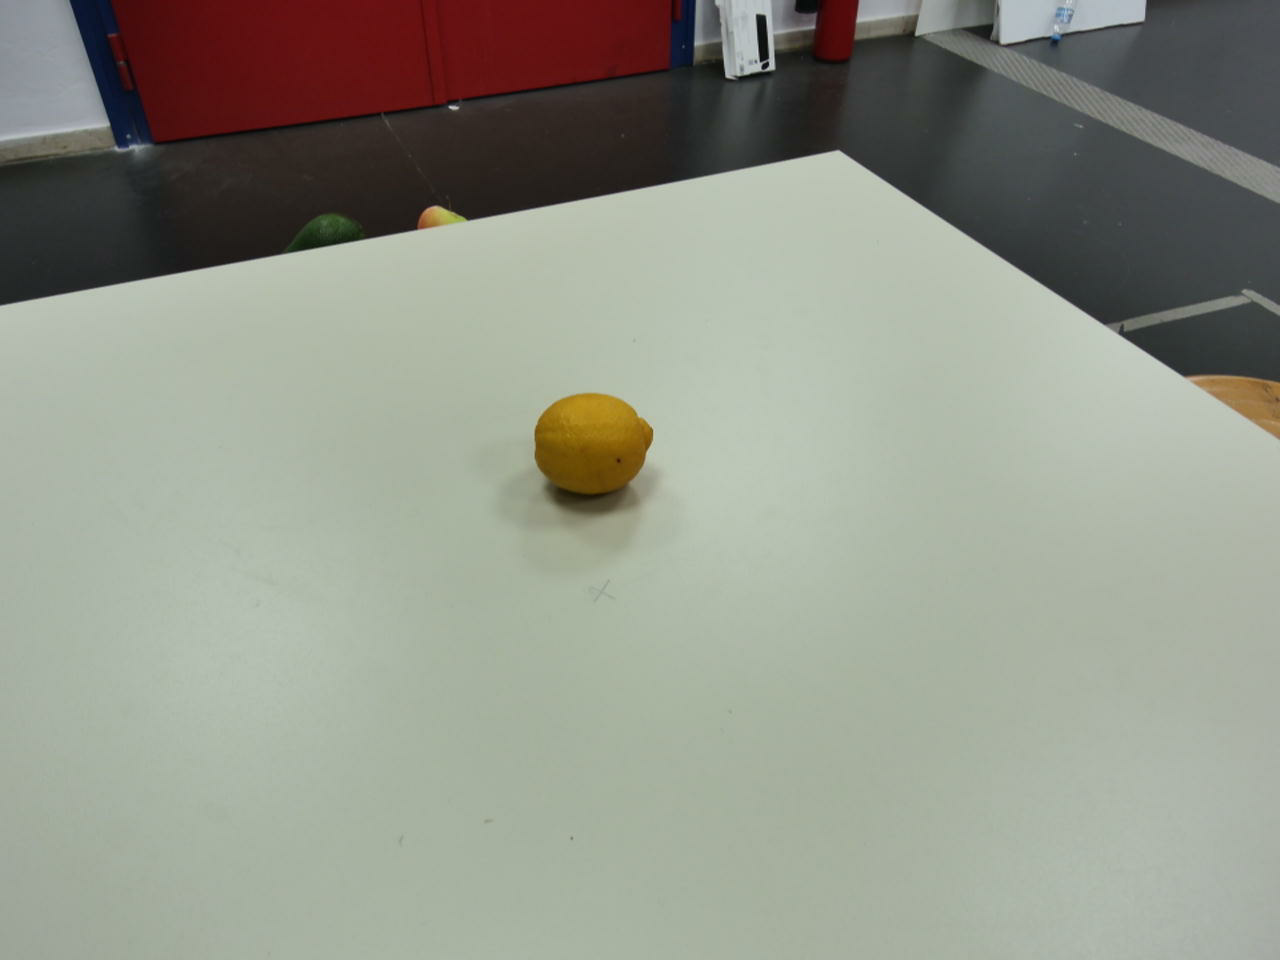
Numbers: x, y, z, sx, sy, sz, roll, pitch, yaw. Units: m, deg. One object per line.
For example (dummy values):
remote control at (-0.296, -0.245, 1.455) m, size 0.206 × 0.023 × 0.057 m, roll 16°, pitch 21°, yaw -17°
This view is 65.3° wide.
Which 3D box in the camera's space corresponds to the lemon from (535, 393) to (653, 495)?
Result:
lemon at (-0.029, -0.021, 0.588) m, size 0.067 × 0.059 × 0.060 m, roll 11°, pitch 40°, yaw 13°
